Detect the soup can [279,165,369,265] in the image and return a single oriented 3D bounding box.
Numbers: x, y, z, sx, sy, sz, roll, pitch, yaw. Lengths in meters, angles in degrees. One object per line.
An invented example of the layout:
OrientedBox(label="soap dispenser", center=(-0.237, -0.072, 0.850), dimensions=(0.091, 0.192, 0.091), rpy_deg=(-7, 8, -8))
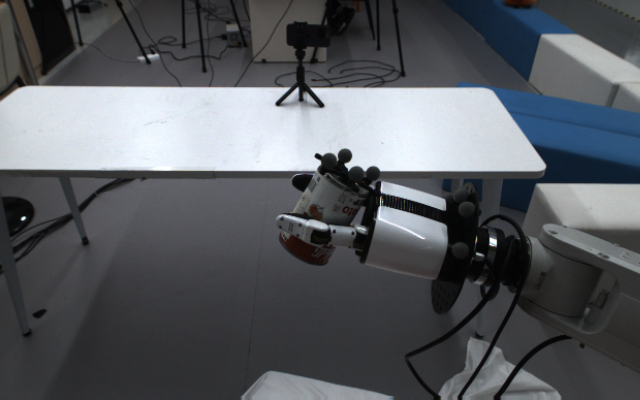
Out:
OrientedBox(label="soup can", center=(0.006, 0.017, 0.568), dimensions=(0.067, 0.101, 0.067), rpy_deg=(27, 18, -9))
